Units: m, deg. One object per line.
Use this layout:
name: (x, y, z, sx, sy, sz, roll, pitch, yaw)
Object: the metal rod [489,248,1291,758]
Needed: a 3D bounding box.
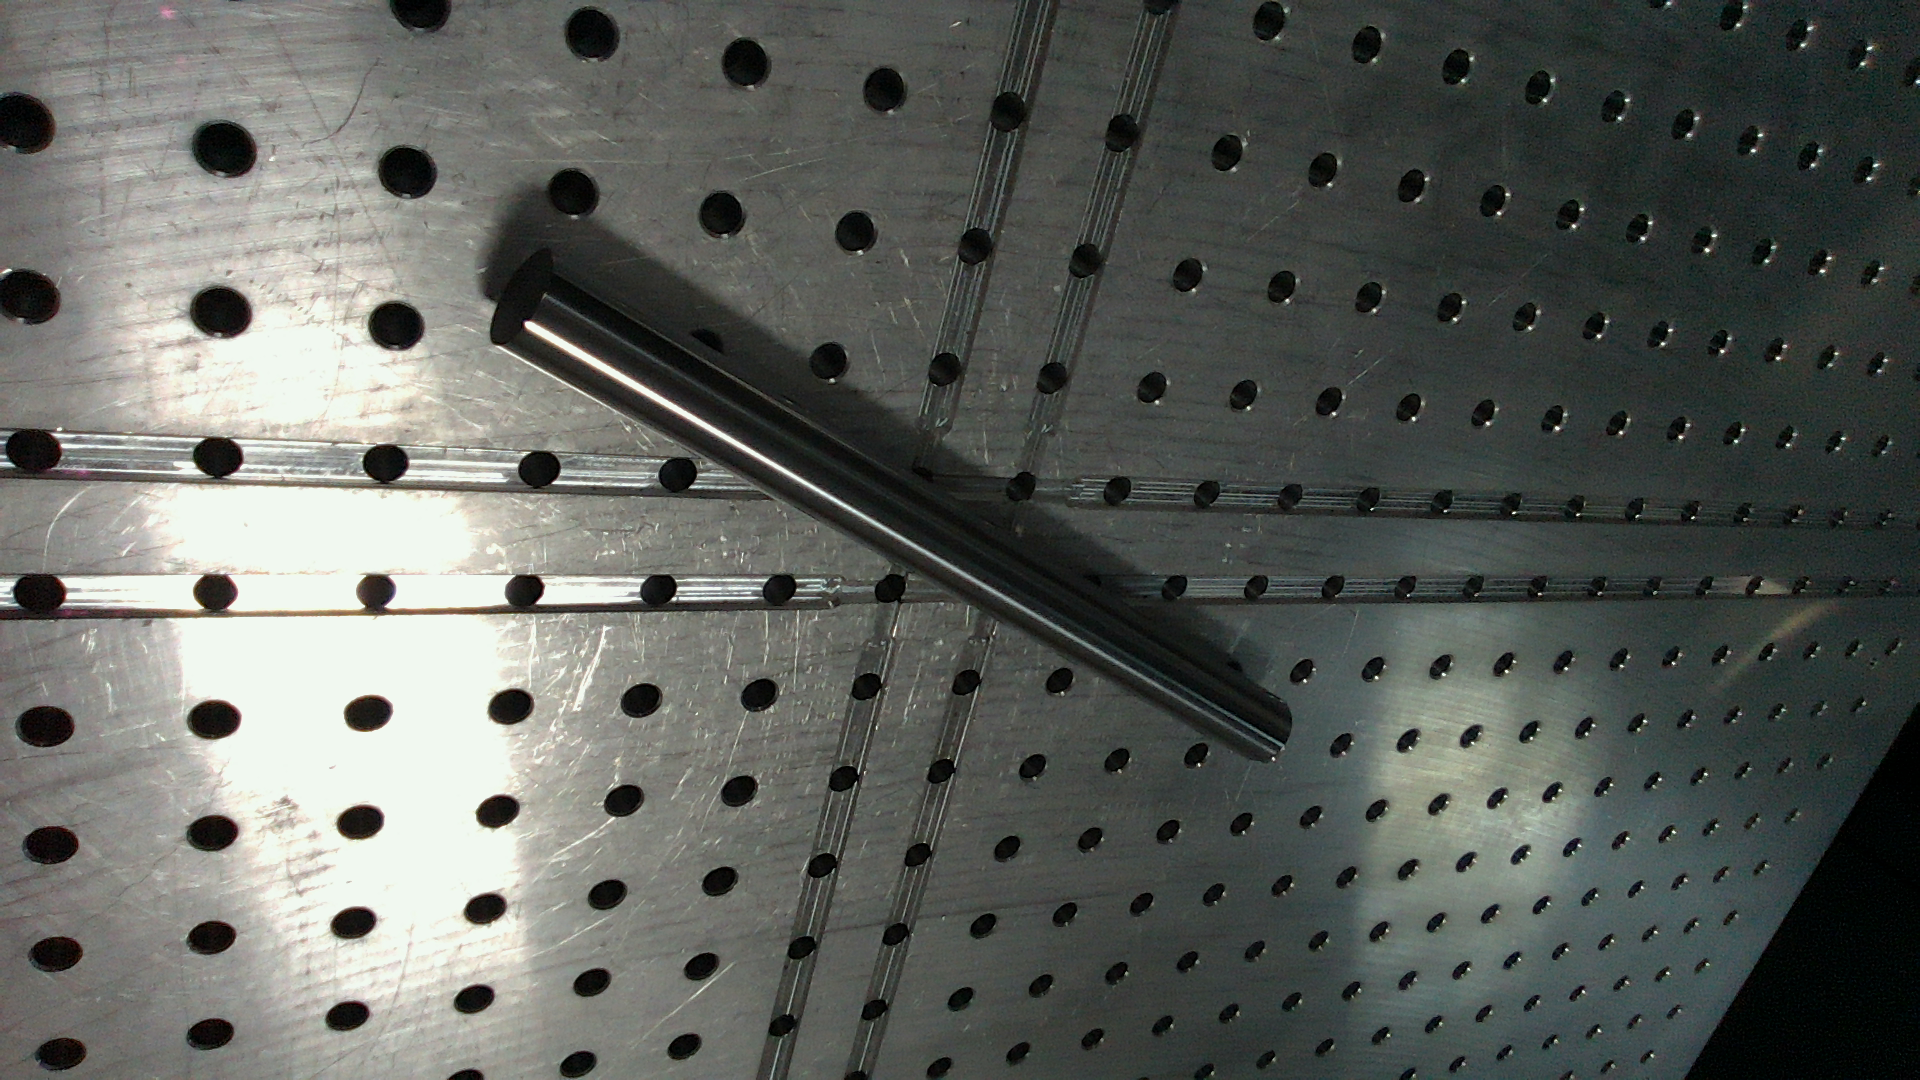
metal rod: (0.005, 0.006, 0.399, 0.301, 0.025, 0.025, 30, 102, -38)
